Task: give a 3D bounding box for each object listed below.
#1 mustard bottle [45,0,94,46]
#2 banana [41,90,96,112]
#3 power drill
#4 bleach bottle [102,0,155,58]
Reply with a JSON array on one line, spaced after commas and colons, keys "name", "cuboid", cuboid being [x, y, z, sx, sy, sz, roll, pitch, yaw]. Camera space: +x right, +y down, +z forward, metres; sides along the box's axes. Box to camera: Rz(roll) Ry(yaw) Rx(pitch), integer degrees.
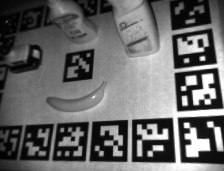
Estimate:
[{"name": "mustard bottle", "cuboid": [-0.132, -0.184, 0.614, 0.095, 0.193, 0.058, -11, 69, 17]}, {"name": "banana", "cuboid": [-0.124, 0.039, 0.611, 0.195, 0.039, 0.074, -10, 71, 21]}, {"name": "power drill", "cuboid": [-0.321, -0.138, 0.637, 0.183, 0.189, 0.057, -11, 69, 22]}, {"name": "bleach bottle", "cuboid": [0.030, -0.143, 0.502, 0.101, 0.254, 0.068, 5, 75, 23]}]
